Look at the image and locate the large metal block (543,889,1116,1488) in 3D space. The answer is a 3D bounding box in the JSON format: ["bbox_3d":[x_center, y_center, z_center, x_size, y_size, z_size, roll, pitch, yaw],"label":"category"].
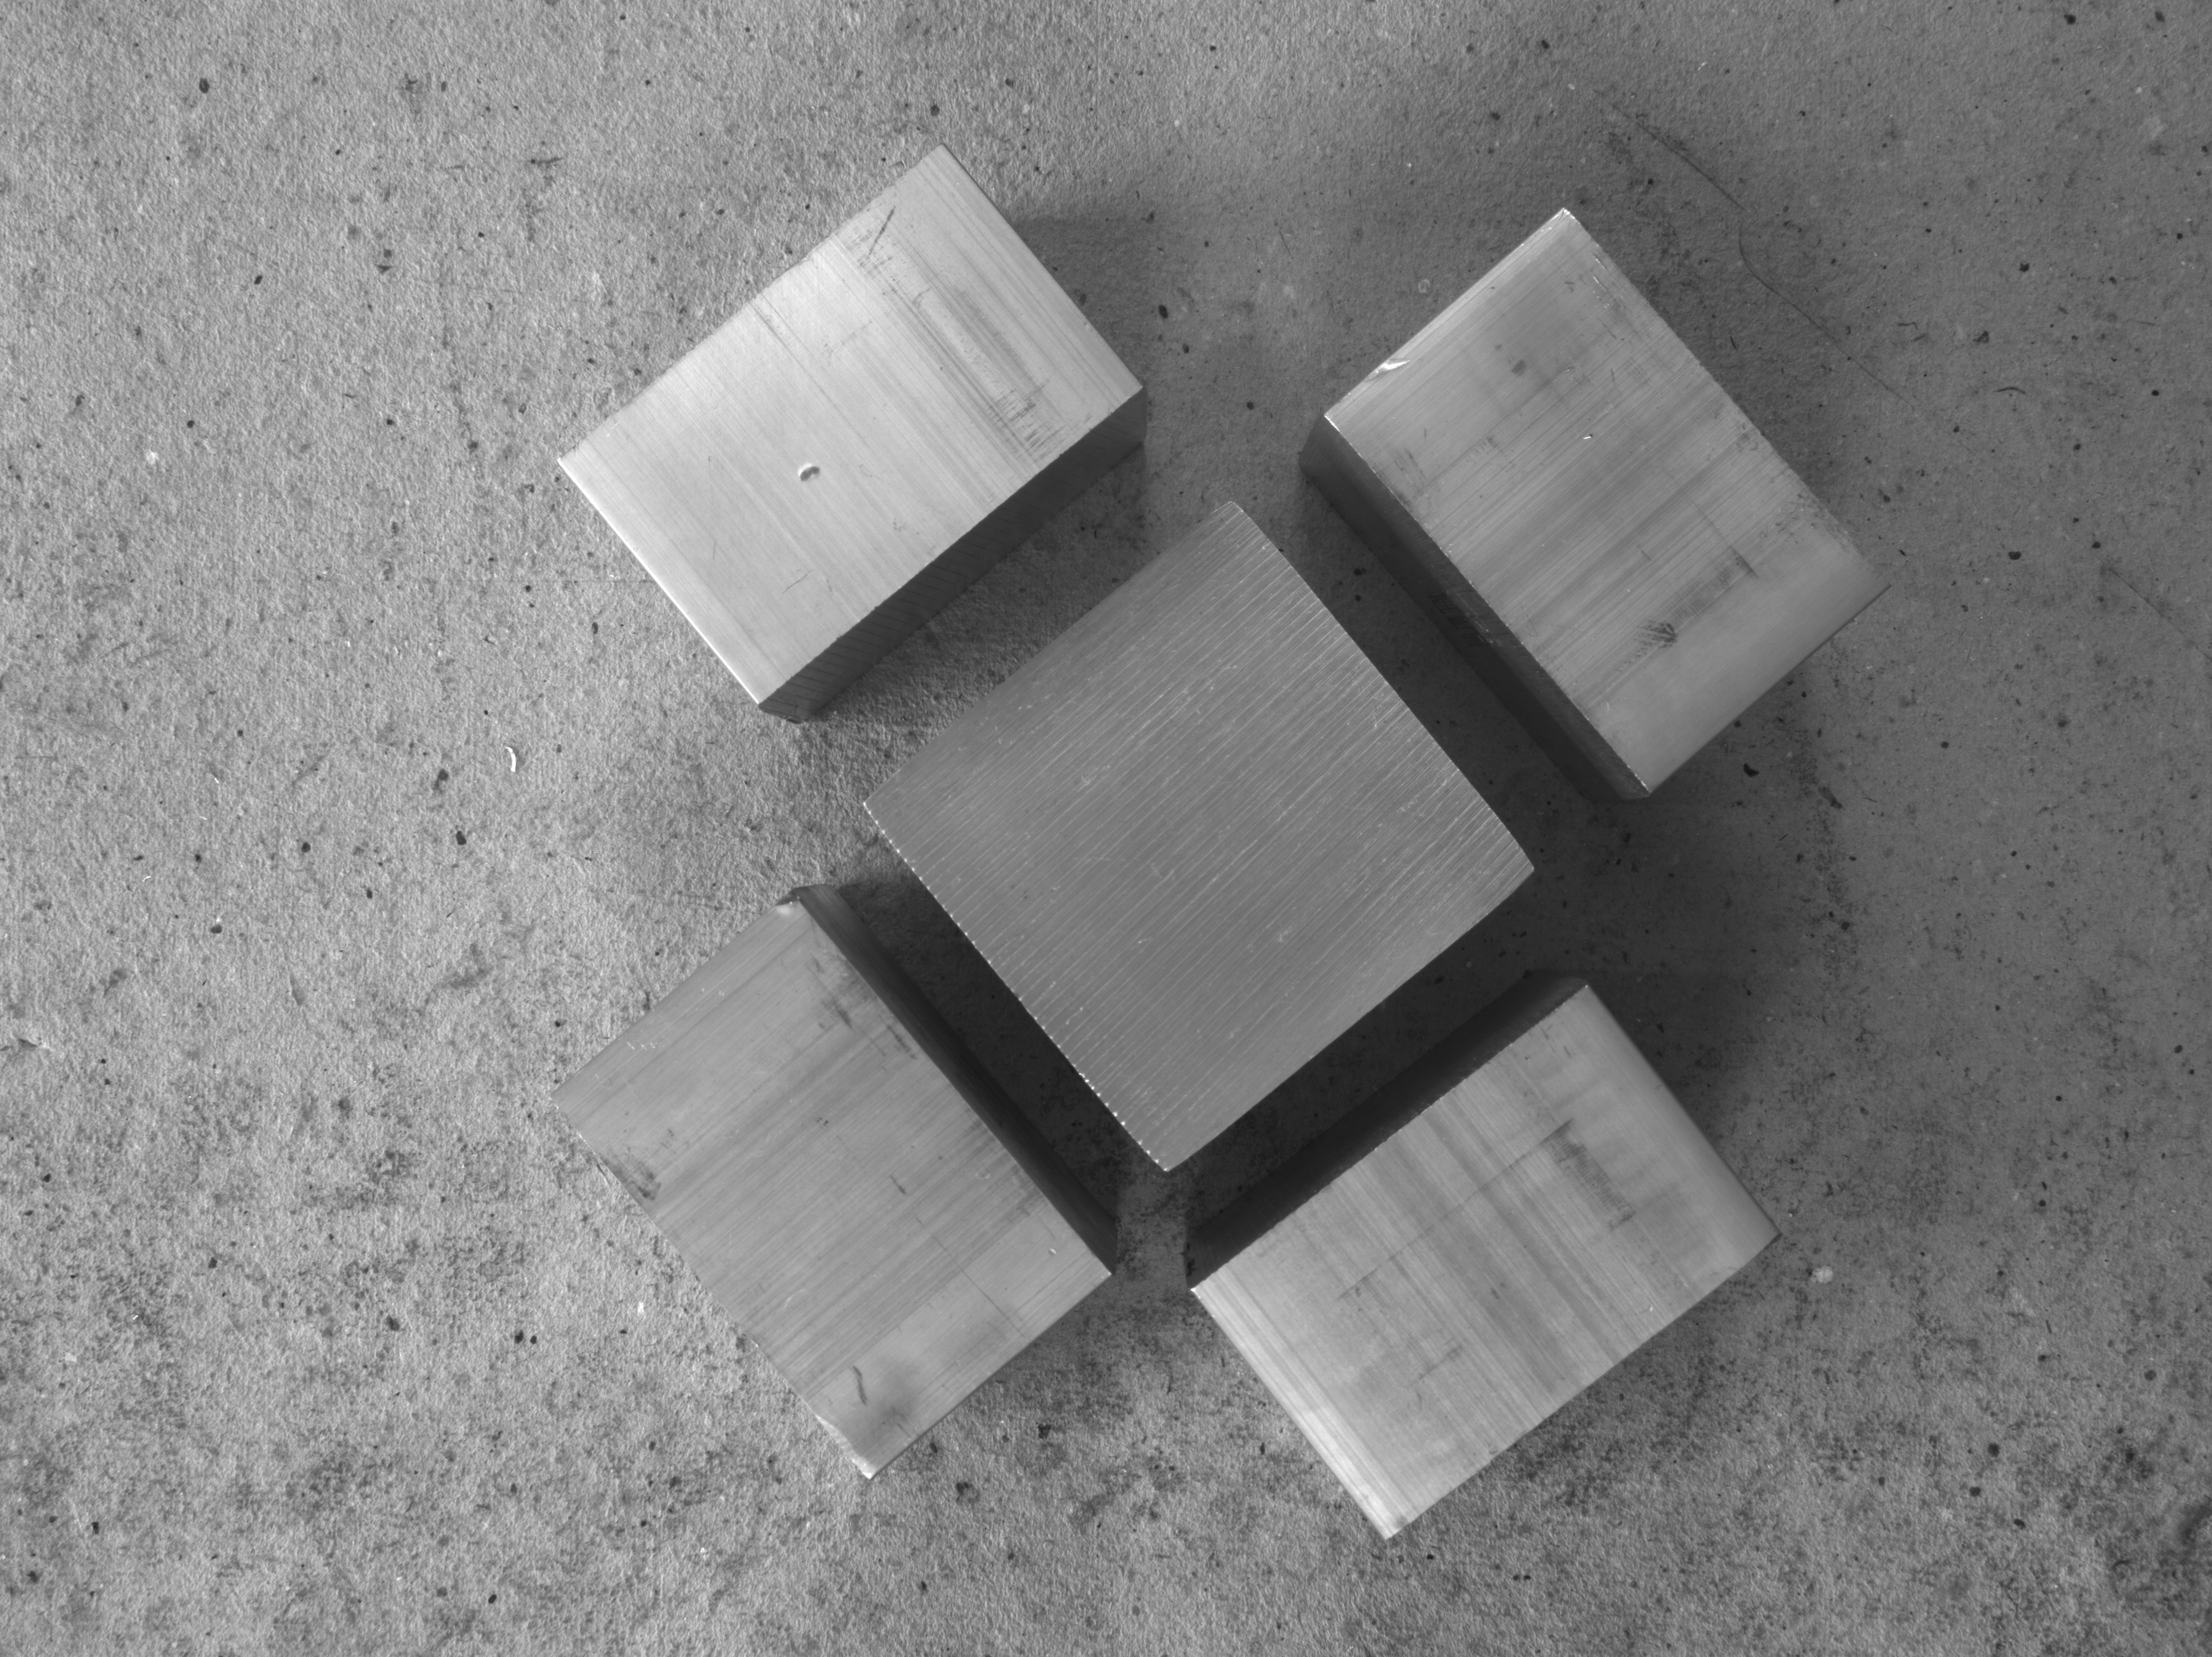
[{"bbox_3d":[-0.043,0.057,0.618,0.050,0.080,0.080,-40,90,0],"label":"large metal block"}]

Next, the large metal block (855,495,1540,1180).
[{"bbox_3d":[0.015,0.002,0.631,0.080,0.050,0.080,-39,90,0],"label":"large metal block"}]

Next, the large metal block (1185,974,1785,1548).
[{"bbox_3d":[0.060,0.069,0.618,0.080,0.080,0.050,-38,89,0],"label":"large metal block"}]

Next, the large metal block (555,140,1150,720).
[{"bbox_3d":[-0.040,-0.063,0.619,0.080,0.080,0.050,-40,89,0],"label":"large metal block"}]

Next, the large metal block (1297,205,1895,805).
[{"bbox_3d":[0.079,-0.051,0.618,0.050,0.080,0.080,-41,90,-1],"label":"large metal block"}]
